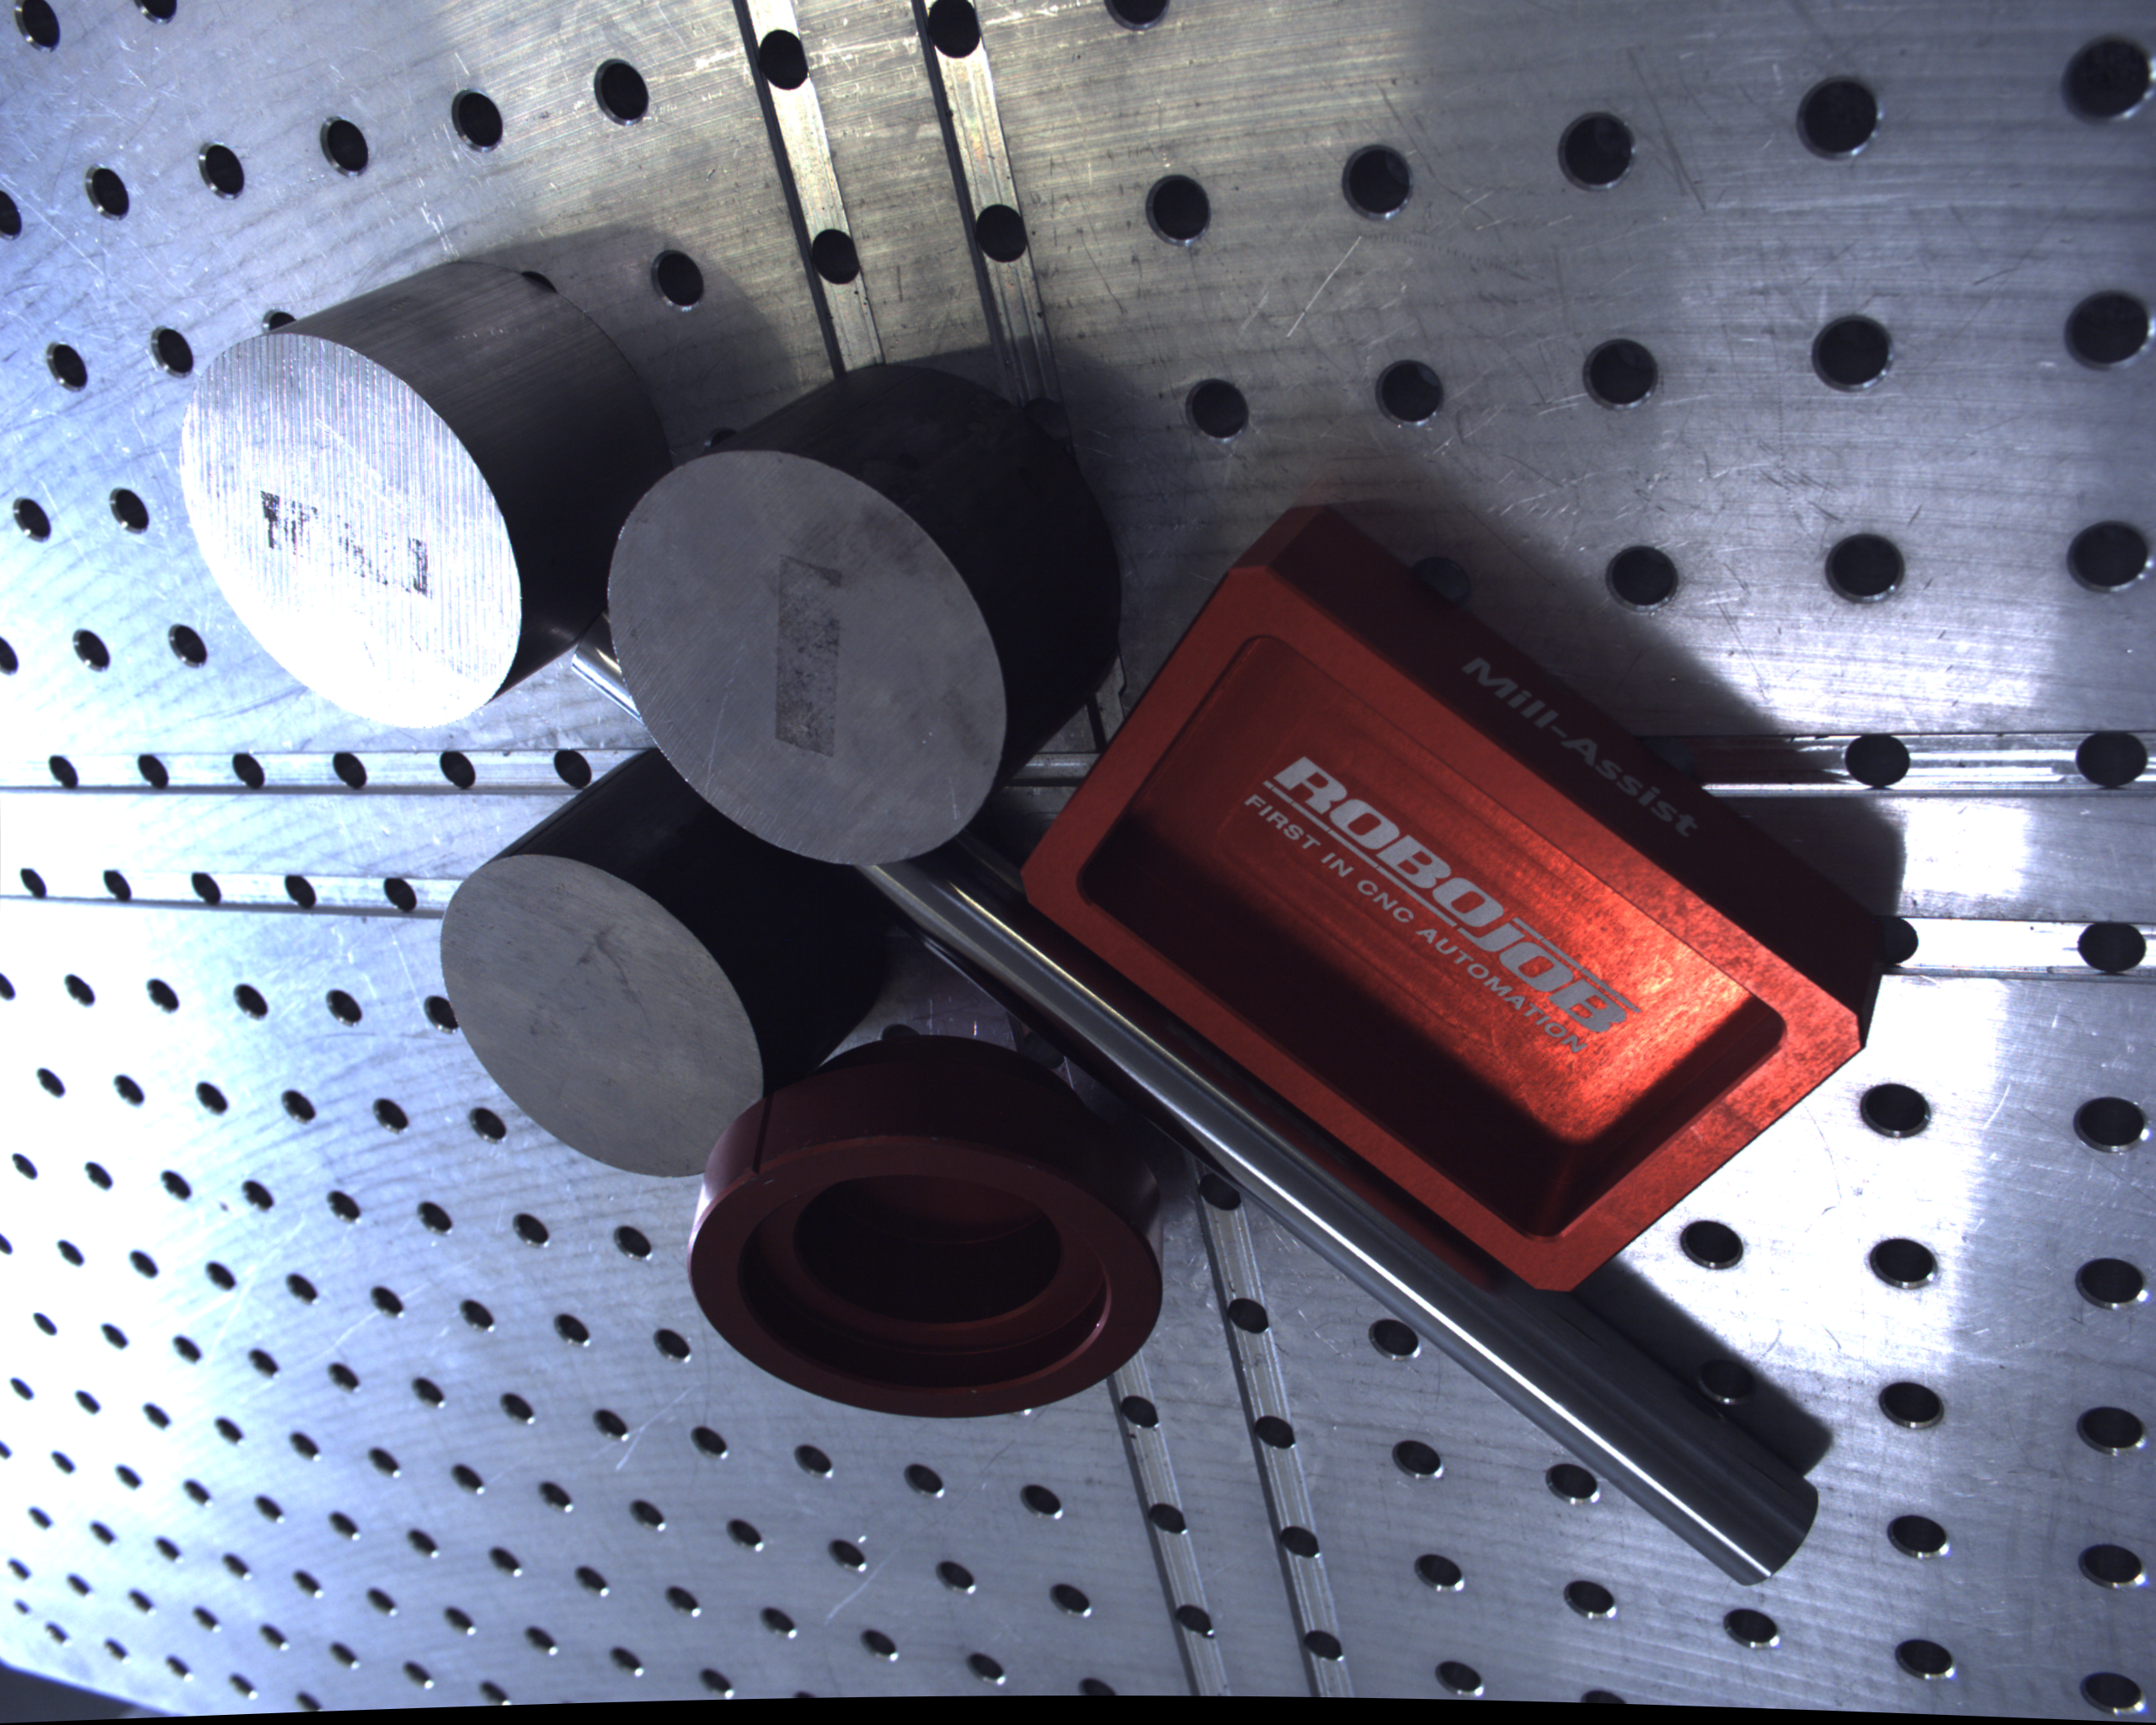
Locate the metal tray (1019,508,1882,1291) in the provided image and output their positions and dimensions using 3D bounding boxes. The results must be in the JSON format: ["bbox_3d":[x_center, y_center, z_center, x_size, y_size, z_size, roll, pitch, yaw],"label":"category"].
[{"bbox_3d":[0.064,0.009,0.379,0.130,0.030,0.089,37,130,3],"label":"metal tray"}]

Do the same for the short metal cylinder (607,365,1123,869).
[{"bbox_3d":[-0.039,-0.046,0.386,0.080,0.050,0.079,13,124,21],"label":"short metal cylinder"}]

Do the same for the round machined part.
[{"bbox_3d":[-0.031,0.074,0.449,0.099,0.042,0.097,2,132,2],"label":"round machined part"}]

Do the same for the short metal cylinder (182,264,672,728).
[{"bbox_3d":[-0.129,-0.074,0.418,0.080,0.050,0.079,13,124,21],"label":"short metal cylinder"}]

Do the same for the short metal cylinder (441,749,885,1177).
[{"bbox_3d":[-0.090,0.021,0.455,0.080,0.050,0.079,13,124,21],"label":"short metal cylinder"}]

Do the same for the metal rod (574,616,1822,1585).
[{"bbox_3d":[0.023,0.043,0.426,0.300,0.025,0.025,38,129,2],"label":"metal rod"}]
